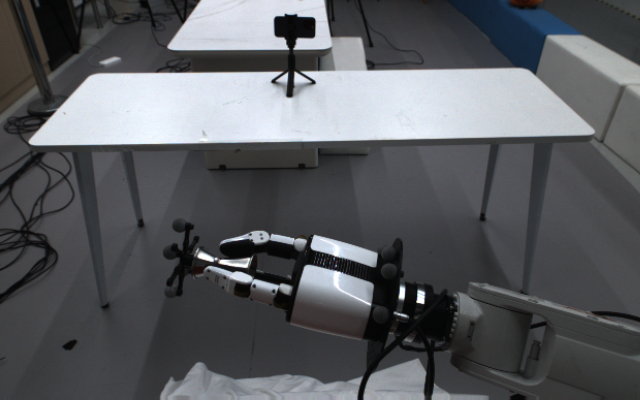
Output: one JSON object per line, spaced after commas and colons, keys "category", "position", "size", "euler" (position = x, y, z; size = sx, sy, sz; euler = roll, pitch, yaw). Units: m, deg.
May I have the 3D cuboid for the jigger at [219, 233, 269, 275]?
{"category": "jigger", "position": [-0.106, 0.078, 0.579], "size": [0.071, 0.043, 0.043], "euler": [9, 35, 3]}
